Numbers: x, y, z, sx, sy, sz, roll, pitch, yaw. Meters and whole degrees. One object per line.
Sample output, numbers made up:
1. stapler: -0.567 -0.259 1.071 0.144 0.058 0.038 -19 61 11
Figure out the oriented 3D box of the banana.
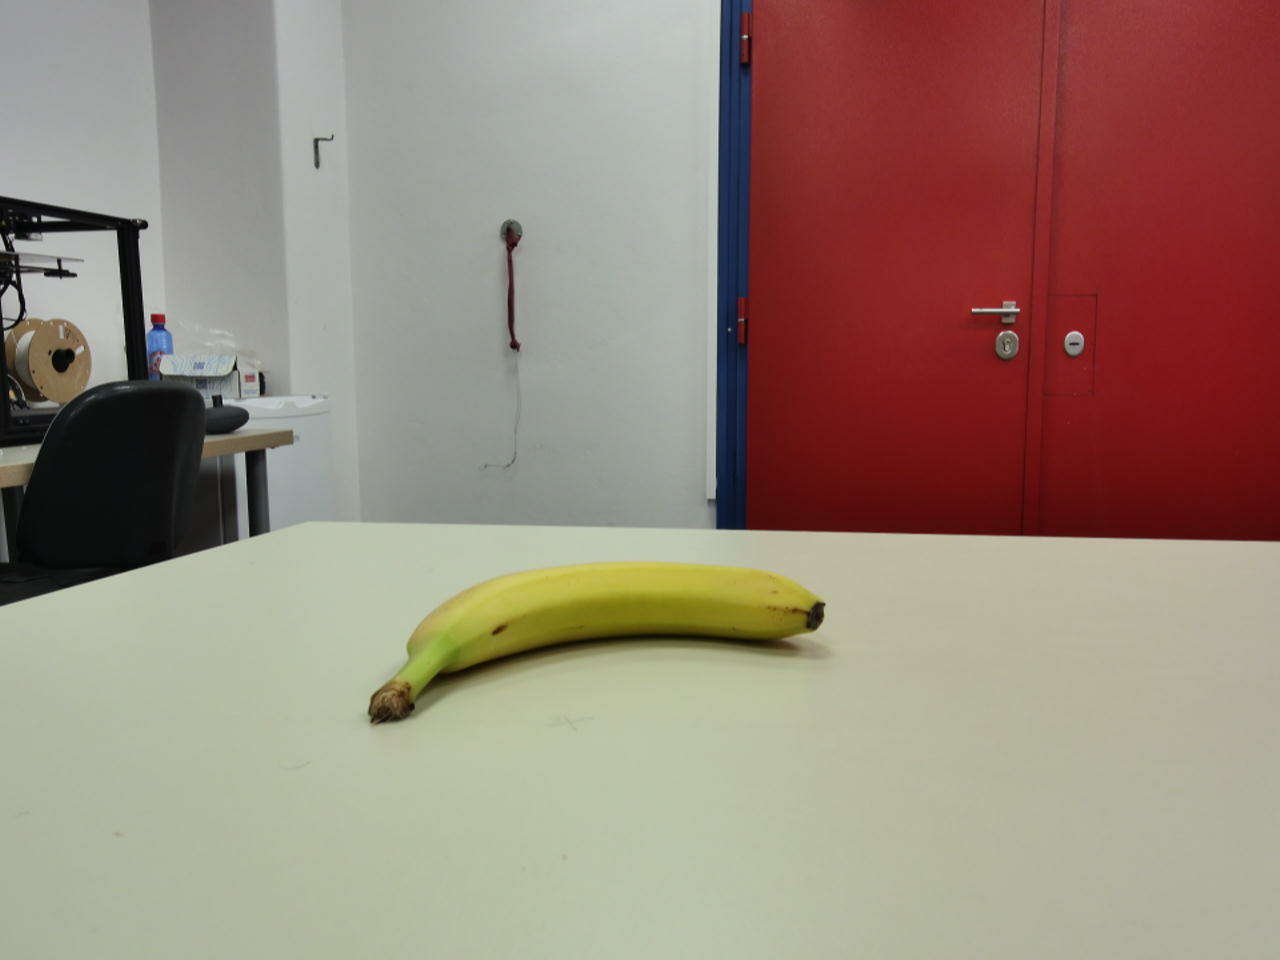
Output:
1. banana: -0.024 0.061 0.433 0.196 0.041 0.094 -2 4 -23
